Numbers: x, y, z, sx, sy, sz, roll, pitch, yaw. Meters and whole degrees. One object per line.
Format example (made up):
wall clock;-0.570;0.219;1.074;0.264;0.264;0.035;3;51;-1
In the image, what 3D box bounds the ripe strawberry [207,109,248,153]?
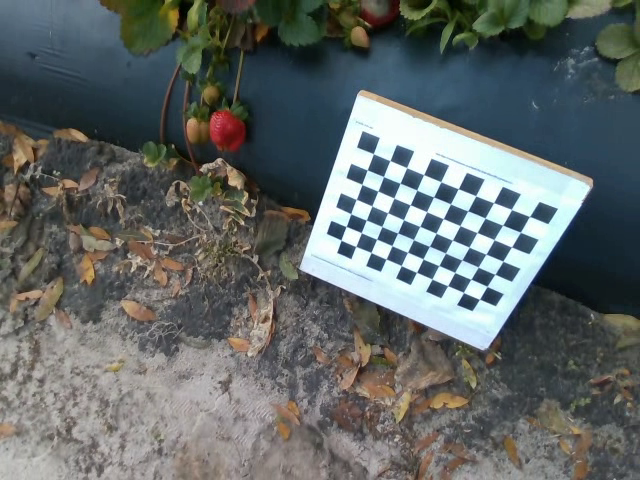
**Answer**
ripe strawberry;-0.143;-0.161;0.840;0.066;0.075;0.053;7;30;16
